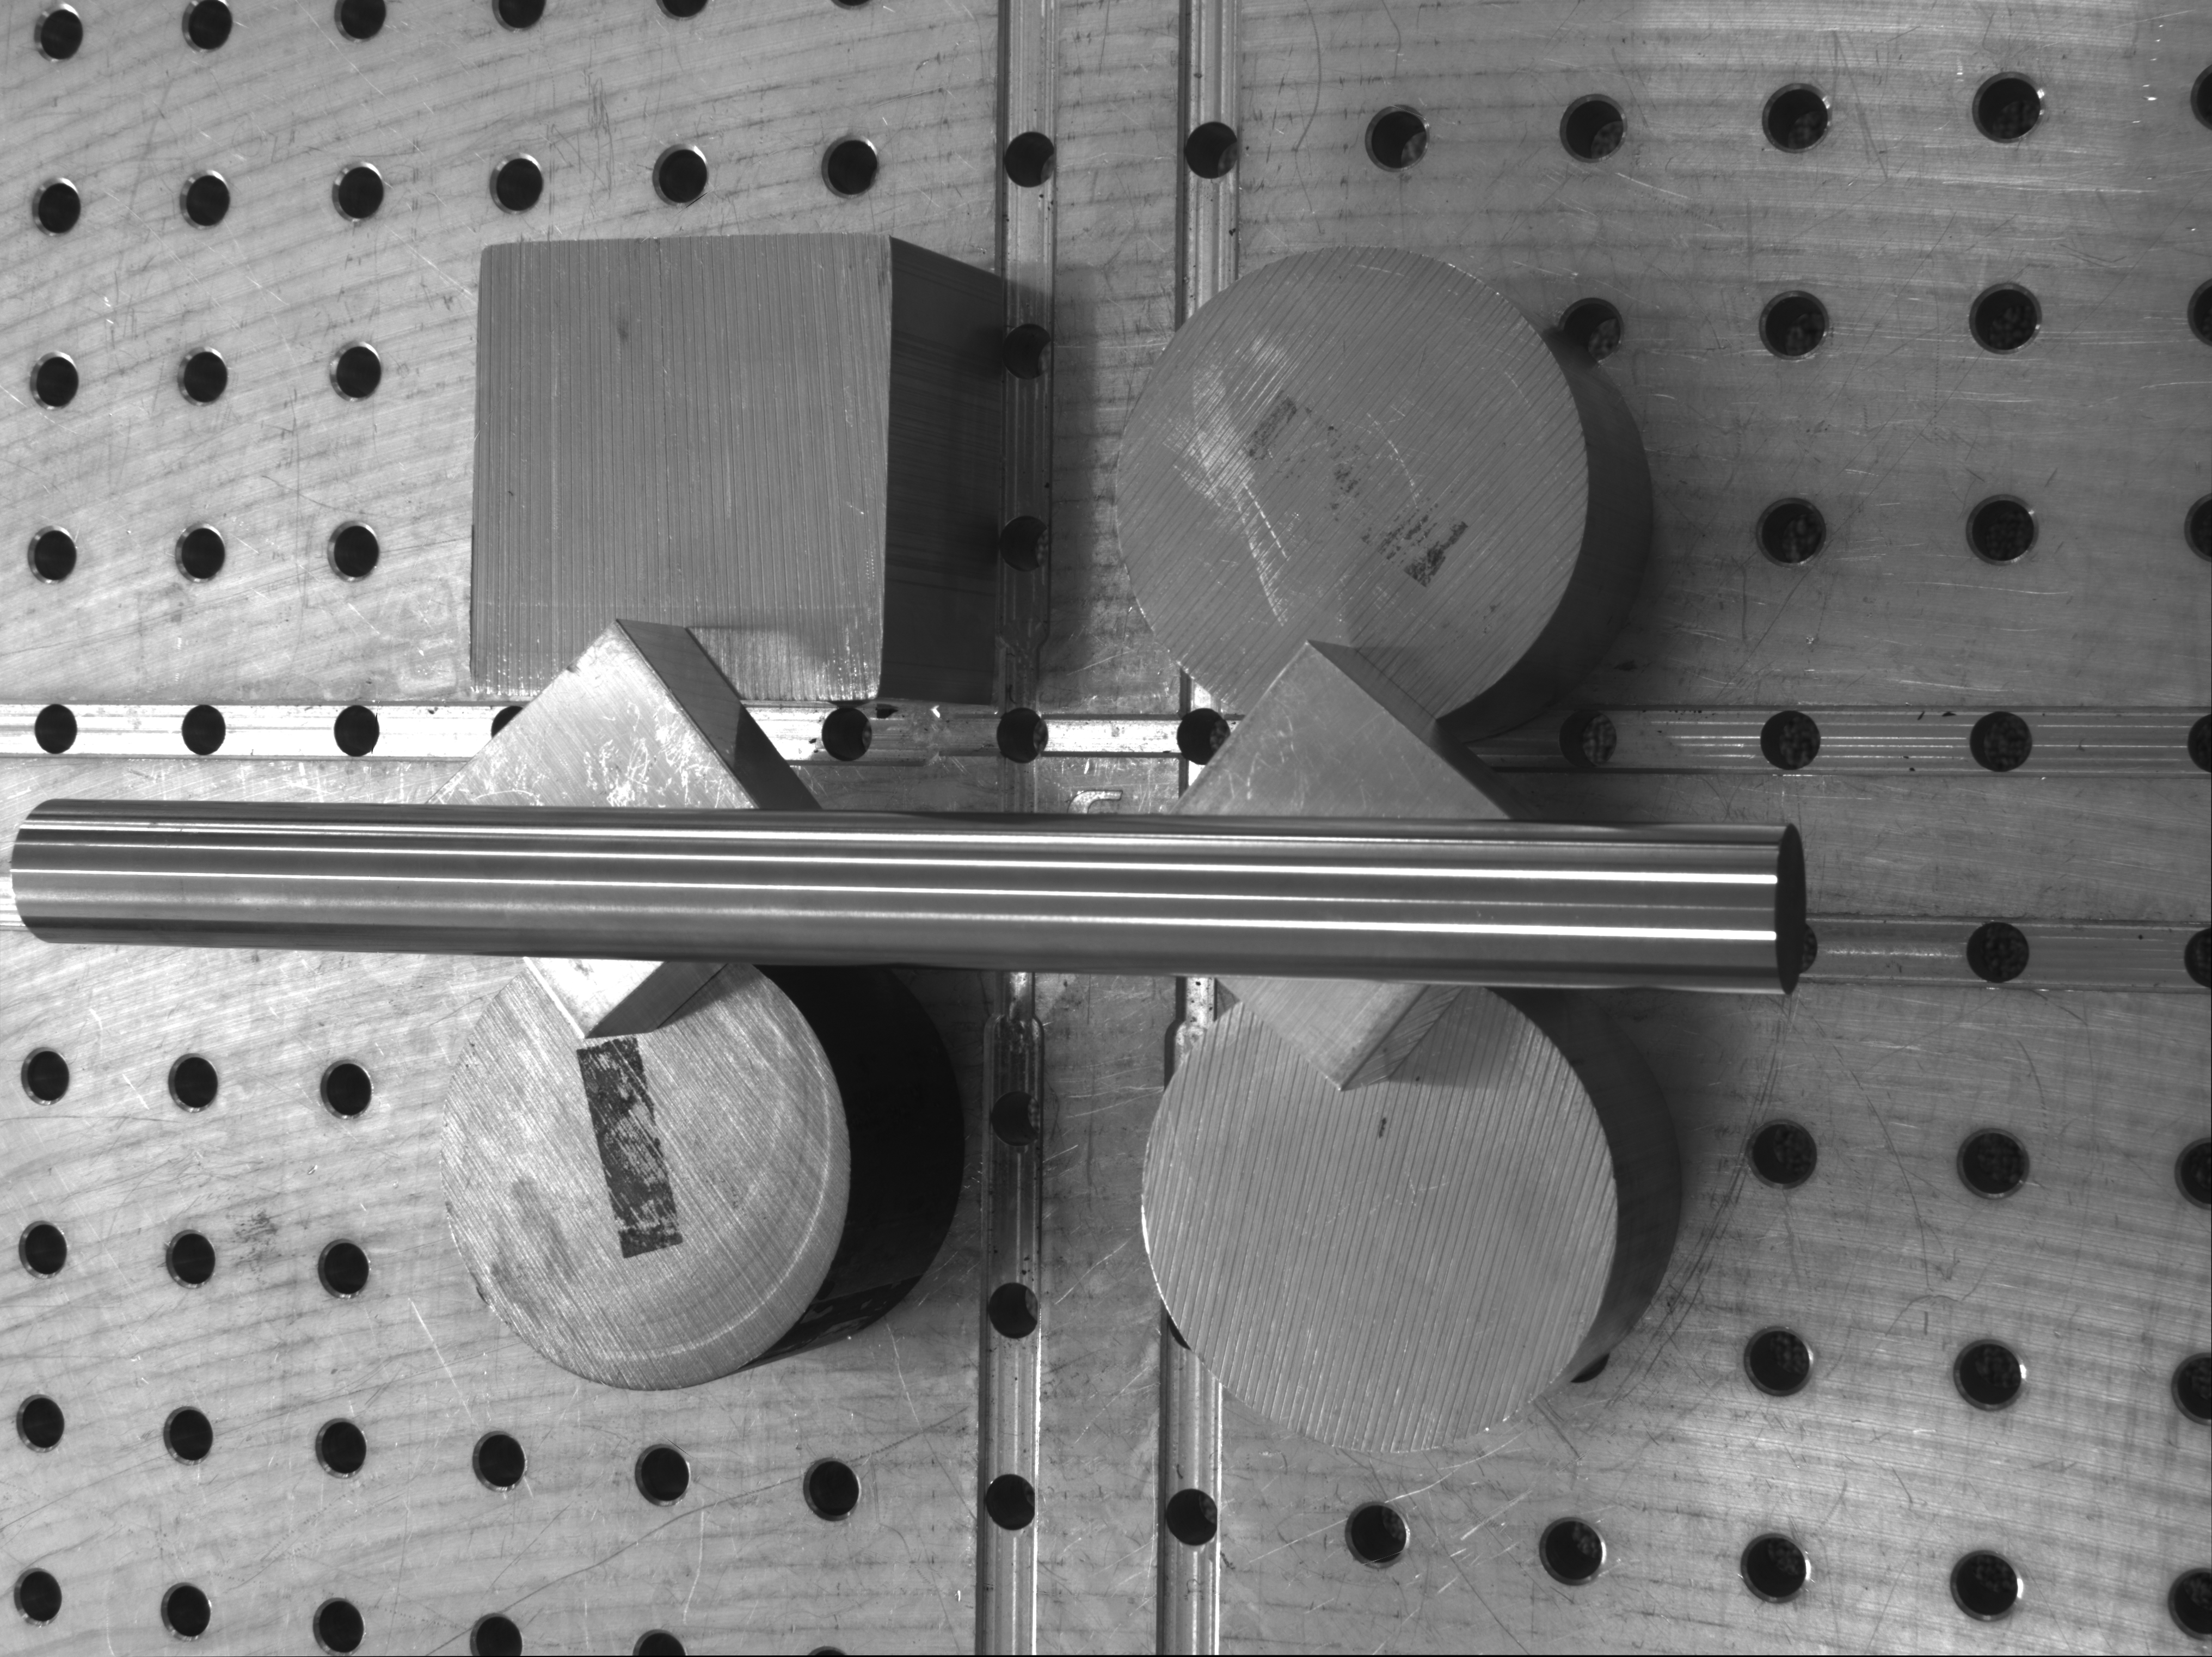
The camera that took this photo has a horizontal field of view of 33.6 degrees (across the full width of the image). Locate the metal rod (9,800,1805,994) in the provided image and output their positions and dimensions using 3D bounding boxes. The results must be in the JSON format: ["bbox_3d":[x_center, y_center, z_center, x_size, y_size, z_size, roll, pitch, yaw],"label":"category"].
[{"bbox_3d":[-0.041,0.010,0.583,0.299,0.025,0.025,1,90,20],"label":"metal rod"}]

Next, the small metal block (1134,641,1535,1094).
[{"bbox_3d":[0.038,0.006,0.582,0.050,0.025,0.050,42,103,15],"label":"small metal block"}]

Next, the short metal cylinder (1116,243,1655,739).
[{"bbox_3d":[0.048,-0.055,0.618,0.080,0.050,0.080,0,90,20],"label":"short metal cylinder"}]

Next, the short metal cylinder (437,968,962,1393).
[{"bbox_3d":[-0.073,0.058,0.661,0.080,0.050,0.080,0,90,20],"label":"short metal cylinder"}]

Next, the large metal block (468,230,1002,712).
[{"bbox_3d":[-0.066,-0.062,0.659,0.080,0.050,0.080,1,90,20],"label":"large metal block"}]

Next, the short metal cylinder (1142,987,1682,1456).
[{"bbox_3d":[0.052,0.061,0.617,0.080,0.050,0.080,0,90,20],"label":"short metal cylinder"}]

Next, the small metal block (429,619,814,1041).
[{"bbox_3d":[-0.081,0.000,0.625,0.050,0.025,0.050,-42,77,15],"label":"small metal block"}]
